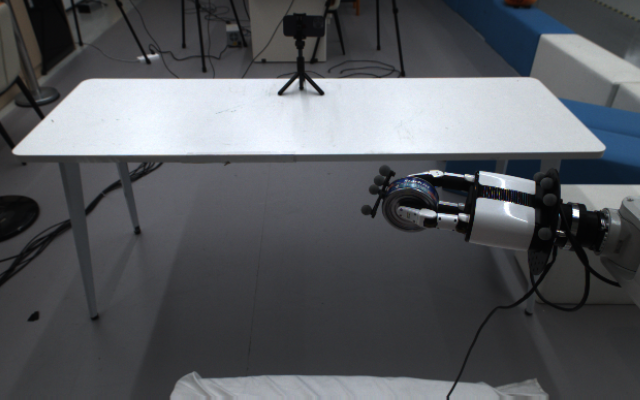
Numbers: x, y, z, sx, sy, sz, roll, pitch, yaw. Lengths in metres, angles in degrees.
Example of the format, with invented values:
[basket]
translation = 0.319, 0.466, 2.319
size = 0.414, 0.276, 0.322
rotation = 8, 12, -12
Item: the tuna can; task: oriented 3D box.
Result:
[tuna can]
translation = 0.142, 0.006, 0.751
size = 0.085, 0.085, 0.034
rotation = 9, 35, 9
